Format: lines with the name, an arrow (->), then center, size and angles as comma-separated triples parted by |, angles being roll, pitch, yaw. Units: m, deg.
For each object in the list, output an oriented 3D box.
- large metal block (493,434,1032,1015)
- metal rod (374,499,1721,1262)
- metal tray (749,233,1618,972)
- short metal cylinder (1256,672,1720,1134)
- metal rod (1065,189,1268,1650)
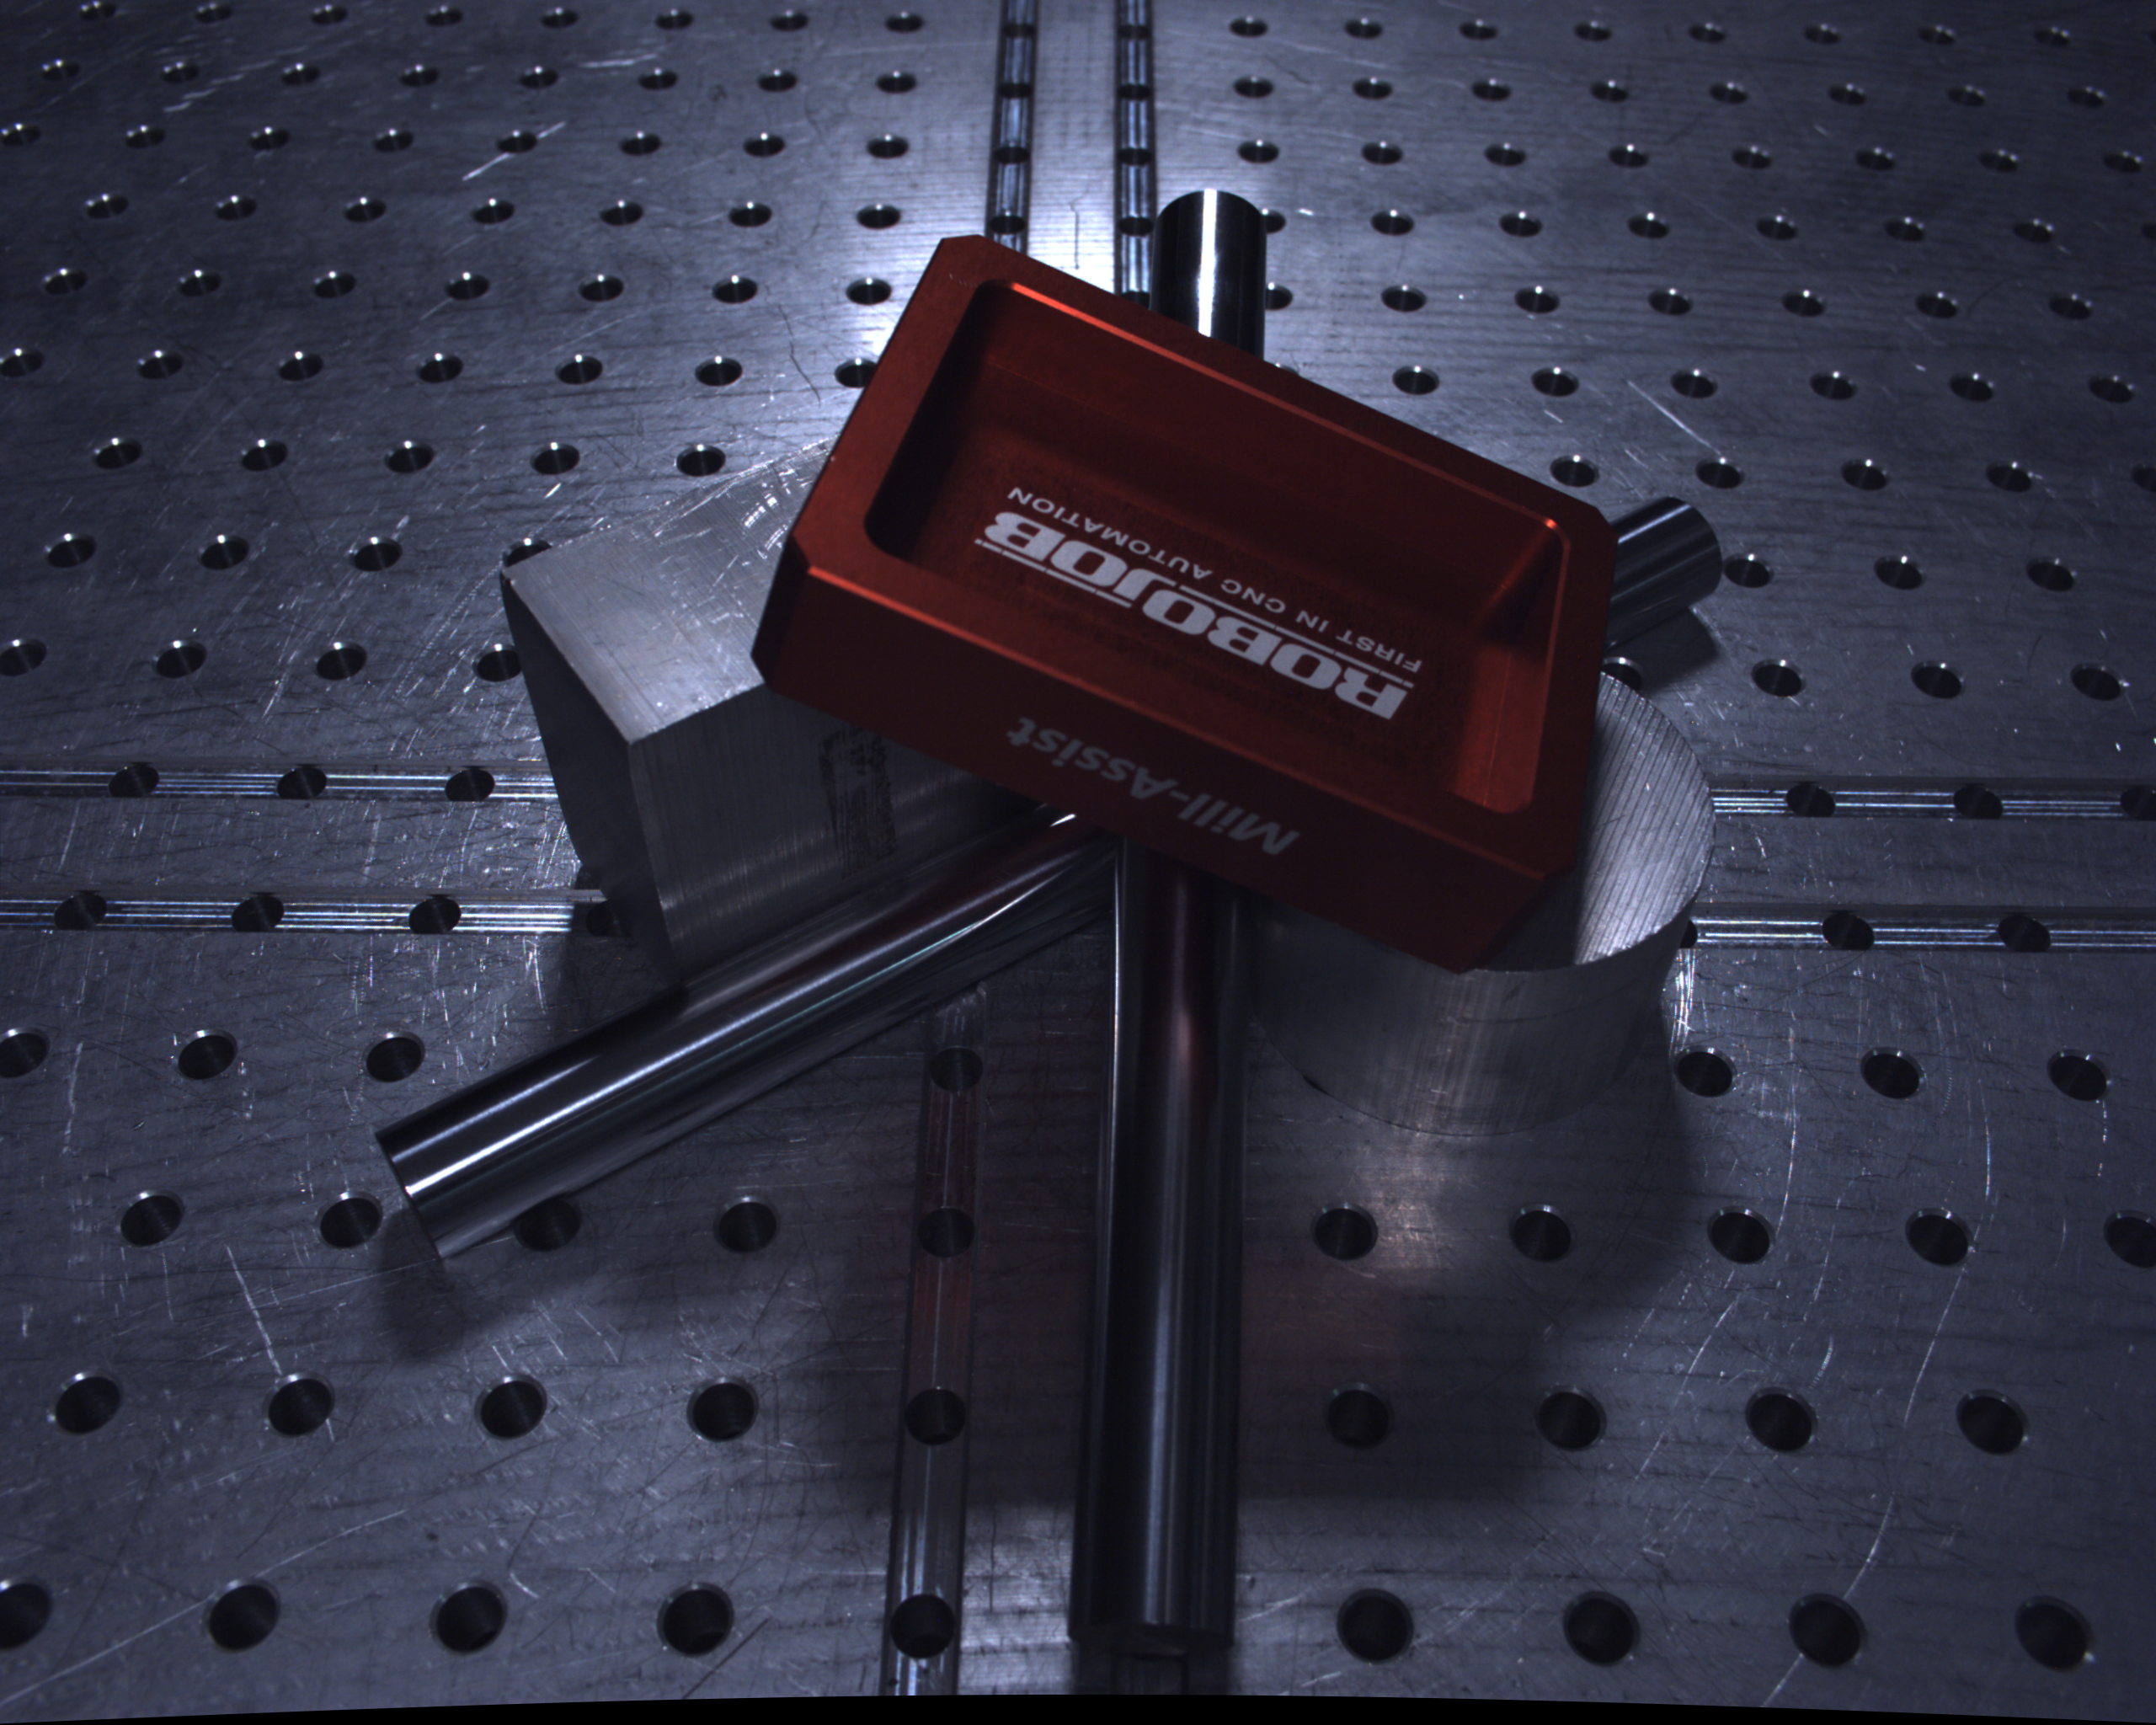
large metal block -> -0.054, -0.026, 0.392 | 0.081, 0.080, 0.050 | -27, 56, -21
metal rod -> 0.010, -0.006, 0.413 | 0.302, 0.025, 0.025 | -27, 55, -21
metal tray -> 0.022, -0.046, 0.351 | 0.131, 0.030, 0.090 | 22, 51, -6
short metal cylinder -> 0.073, 0.003, 0.388 | 0.081, 0.050, 0.080 | 0, 50, 0
metal rod -> 0.020, -0.012, 0.389 | 0.025, 0.025, 0.299 | 3, 59, 2
